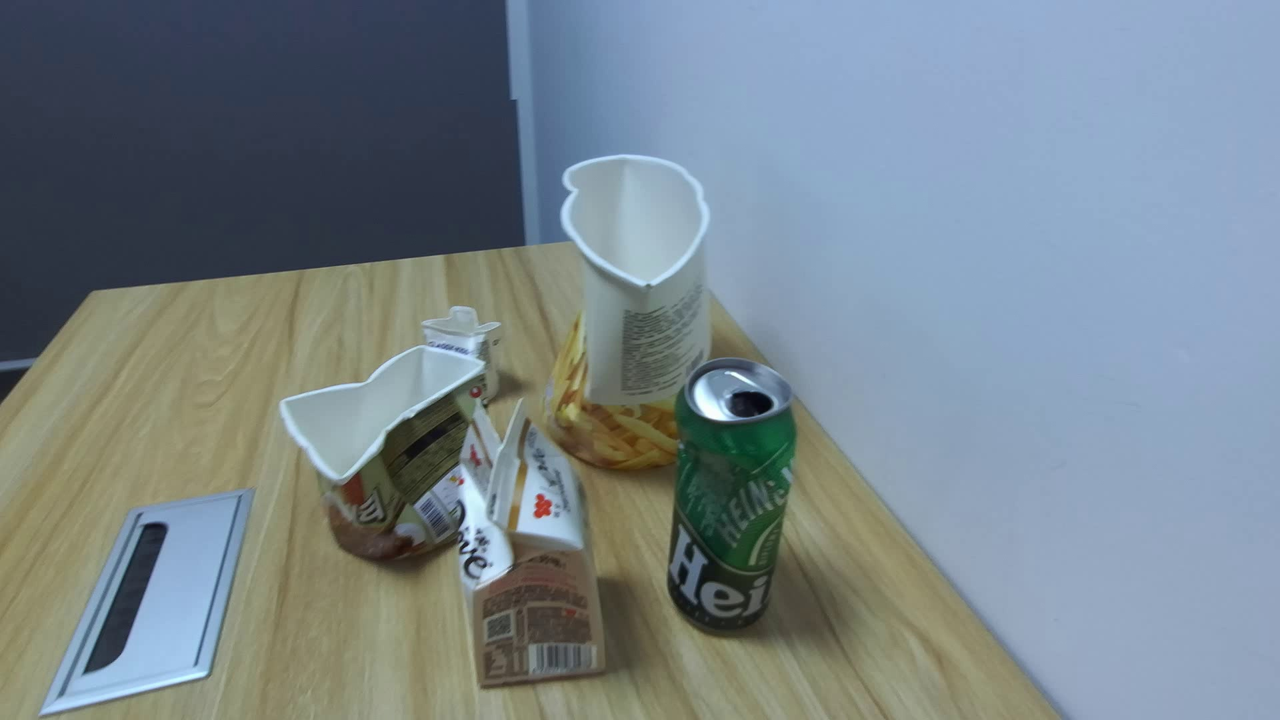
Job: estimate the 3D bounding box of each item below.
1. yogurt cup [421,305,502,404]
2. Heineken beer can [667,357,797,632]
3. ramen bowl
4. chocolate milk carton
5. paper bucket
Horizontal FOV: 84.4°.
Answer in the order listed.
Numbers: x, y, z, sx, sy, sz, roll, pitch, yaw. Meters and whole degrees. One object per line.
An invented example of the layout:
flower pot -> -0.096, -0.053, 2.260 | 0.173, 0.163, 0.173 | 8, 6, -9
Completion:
yogurt cup -> -0.152, -0.004, 0.623 | 0.054, 0.072, 0.055 | 26, 39, 34
Heineken beer can -> 0.050, 0.080, 0.406 | 0.066, 0.164, 0.077 | 6, 35, 10
ramen bowl -> -0.161, 0.063, 0.492 | 0.129, 0.093, 0.111 | -27, 41, -35
chocolate milk carton -> -0.061, 0.097, 0.387 | 0.074, 0.156, 0.076 | -5, 33, -6
paper bucket -> -0.005, -0.034, 0.549 | 0.148, 0.199, 0.217 | -18, 37, -27
